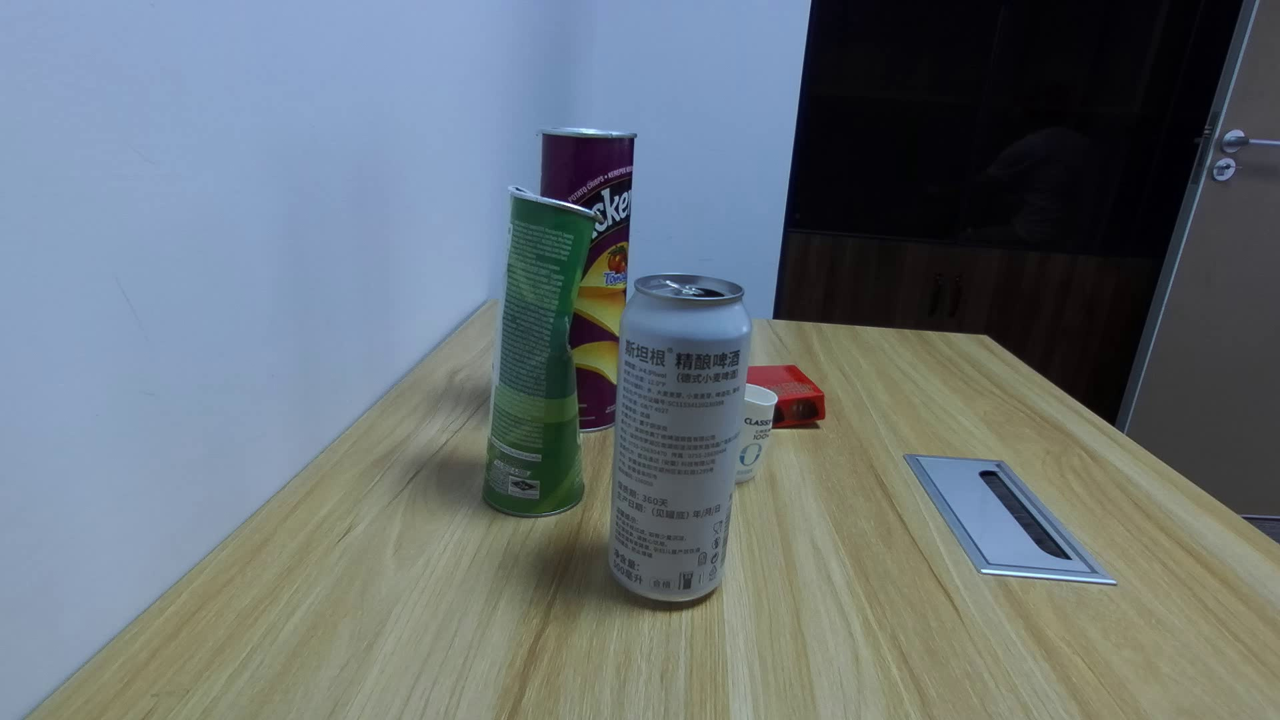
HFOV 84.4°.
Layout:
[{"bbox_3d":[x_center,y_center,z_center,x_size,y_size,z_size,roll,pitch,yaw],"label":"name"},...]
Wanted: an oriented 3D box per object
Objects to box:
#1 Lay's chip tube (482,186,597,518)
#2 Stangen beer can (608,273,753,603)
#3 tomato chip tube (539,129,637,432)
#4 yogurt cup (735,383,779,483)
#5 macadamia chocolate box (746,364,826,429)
[{"bbox_3d":[-0.065,-0.004,0.451,0.077,0.201,0.069,13,19,19],"label":"Lay's chip tube"},{"bbox_3d":[0.020,0.042,0.374,0.067,0.171,0.067,3,19,-1],"label":"Stangen beer can"},{"bbox_3d":[-0.046,-0.058,0.561,0.080,0.234,0.076,-3,8,-31],"label":"tomato chip tube"},{"bbox_3d":[0.065,0.045,0.518,0.075,0.071,0.054,17,26,26],"label":"yogurt cup"},{"bbox_3d":[0.096,0.036,0.640,0.126,0.056,0.112,2,29,-3],"label":"macadamia chocolate box"}]
